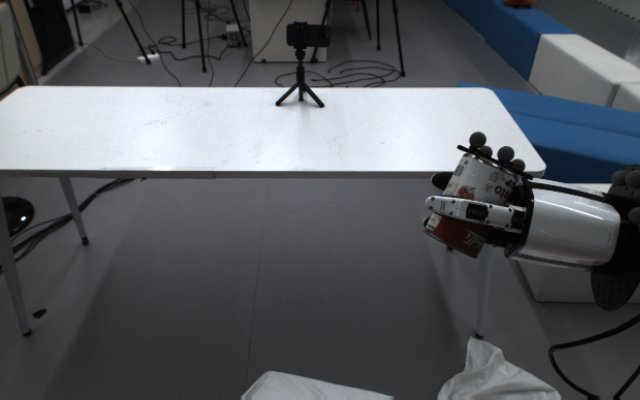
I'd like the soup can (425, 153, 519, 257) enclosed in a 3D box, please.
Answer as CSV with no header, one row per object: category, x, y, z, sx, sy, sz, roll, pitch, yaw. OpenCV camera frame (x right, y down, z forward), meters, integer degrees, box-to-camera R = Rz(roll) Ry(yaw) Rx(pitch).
soup can,0.173,0.006,0.550,0.067,0.101,0.067,25,5,-2
